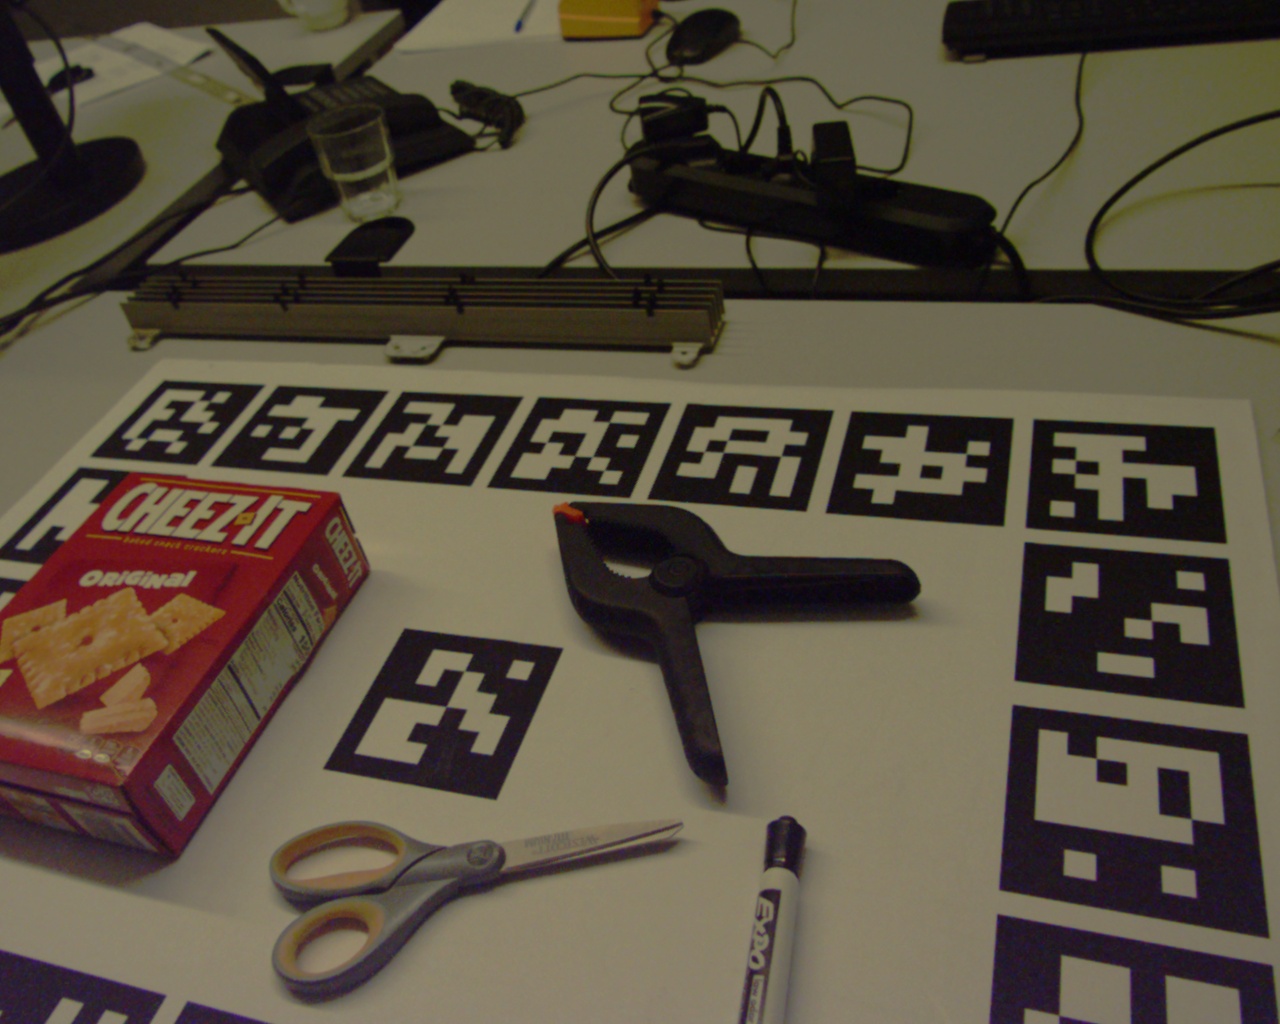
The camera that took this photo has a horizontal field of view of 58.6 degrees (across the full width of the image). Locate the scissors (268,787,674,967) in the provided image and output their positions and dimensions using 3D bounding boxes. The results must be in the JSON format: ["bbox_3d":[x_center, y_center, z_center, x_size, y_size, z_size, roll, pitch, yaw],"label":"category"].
[{"bbox_3d":[-0.082,0.163,0.565,0.202,0.016,0.088,-14,39,-4],"label":"scissors"}]

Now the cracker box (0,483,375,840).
[{"bbox_3d":[-0.285,0.076,0.683,0.166,0.071,0.213,4,43,20],"label":"cracker box"}]

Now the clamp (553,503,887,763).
[{"bbox_3d":[0.017,0.046,0.682,0.164,0.036,0.205,-36,46,-27],"label":"clamp"}]

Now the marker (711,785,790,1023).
[{"bbox_3d":[0.052,0.175,0.513,0.020,0.019,0.121,1,41,16],"label":"marker"}]
